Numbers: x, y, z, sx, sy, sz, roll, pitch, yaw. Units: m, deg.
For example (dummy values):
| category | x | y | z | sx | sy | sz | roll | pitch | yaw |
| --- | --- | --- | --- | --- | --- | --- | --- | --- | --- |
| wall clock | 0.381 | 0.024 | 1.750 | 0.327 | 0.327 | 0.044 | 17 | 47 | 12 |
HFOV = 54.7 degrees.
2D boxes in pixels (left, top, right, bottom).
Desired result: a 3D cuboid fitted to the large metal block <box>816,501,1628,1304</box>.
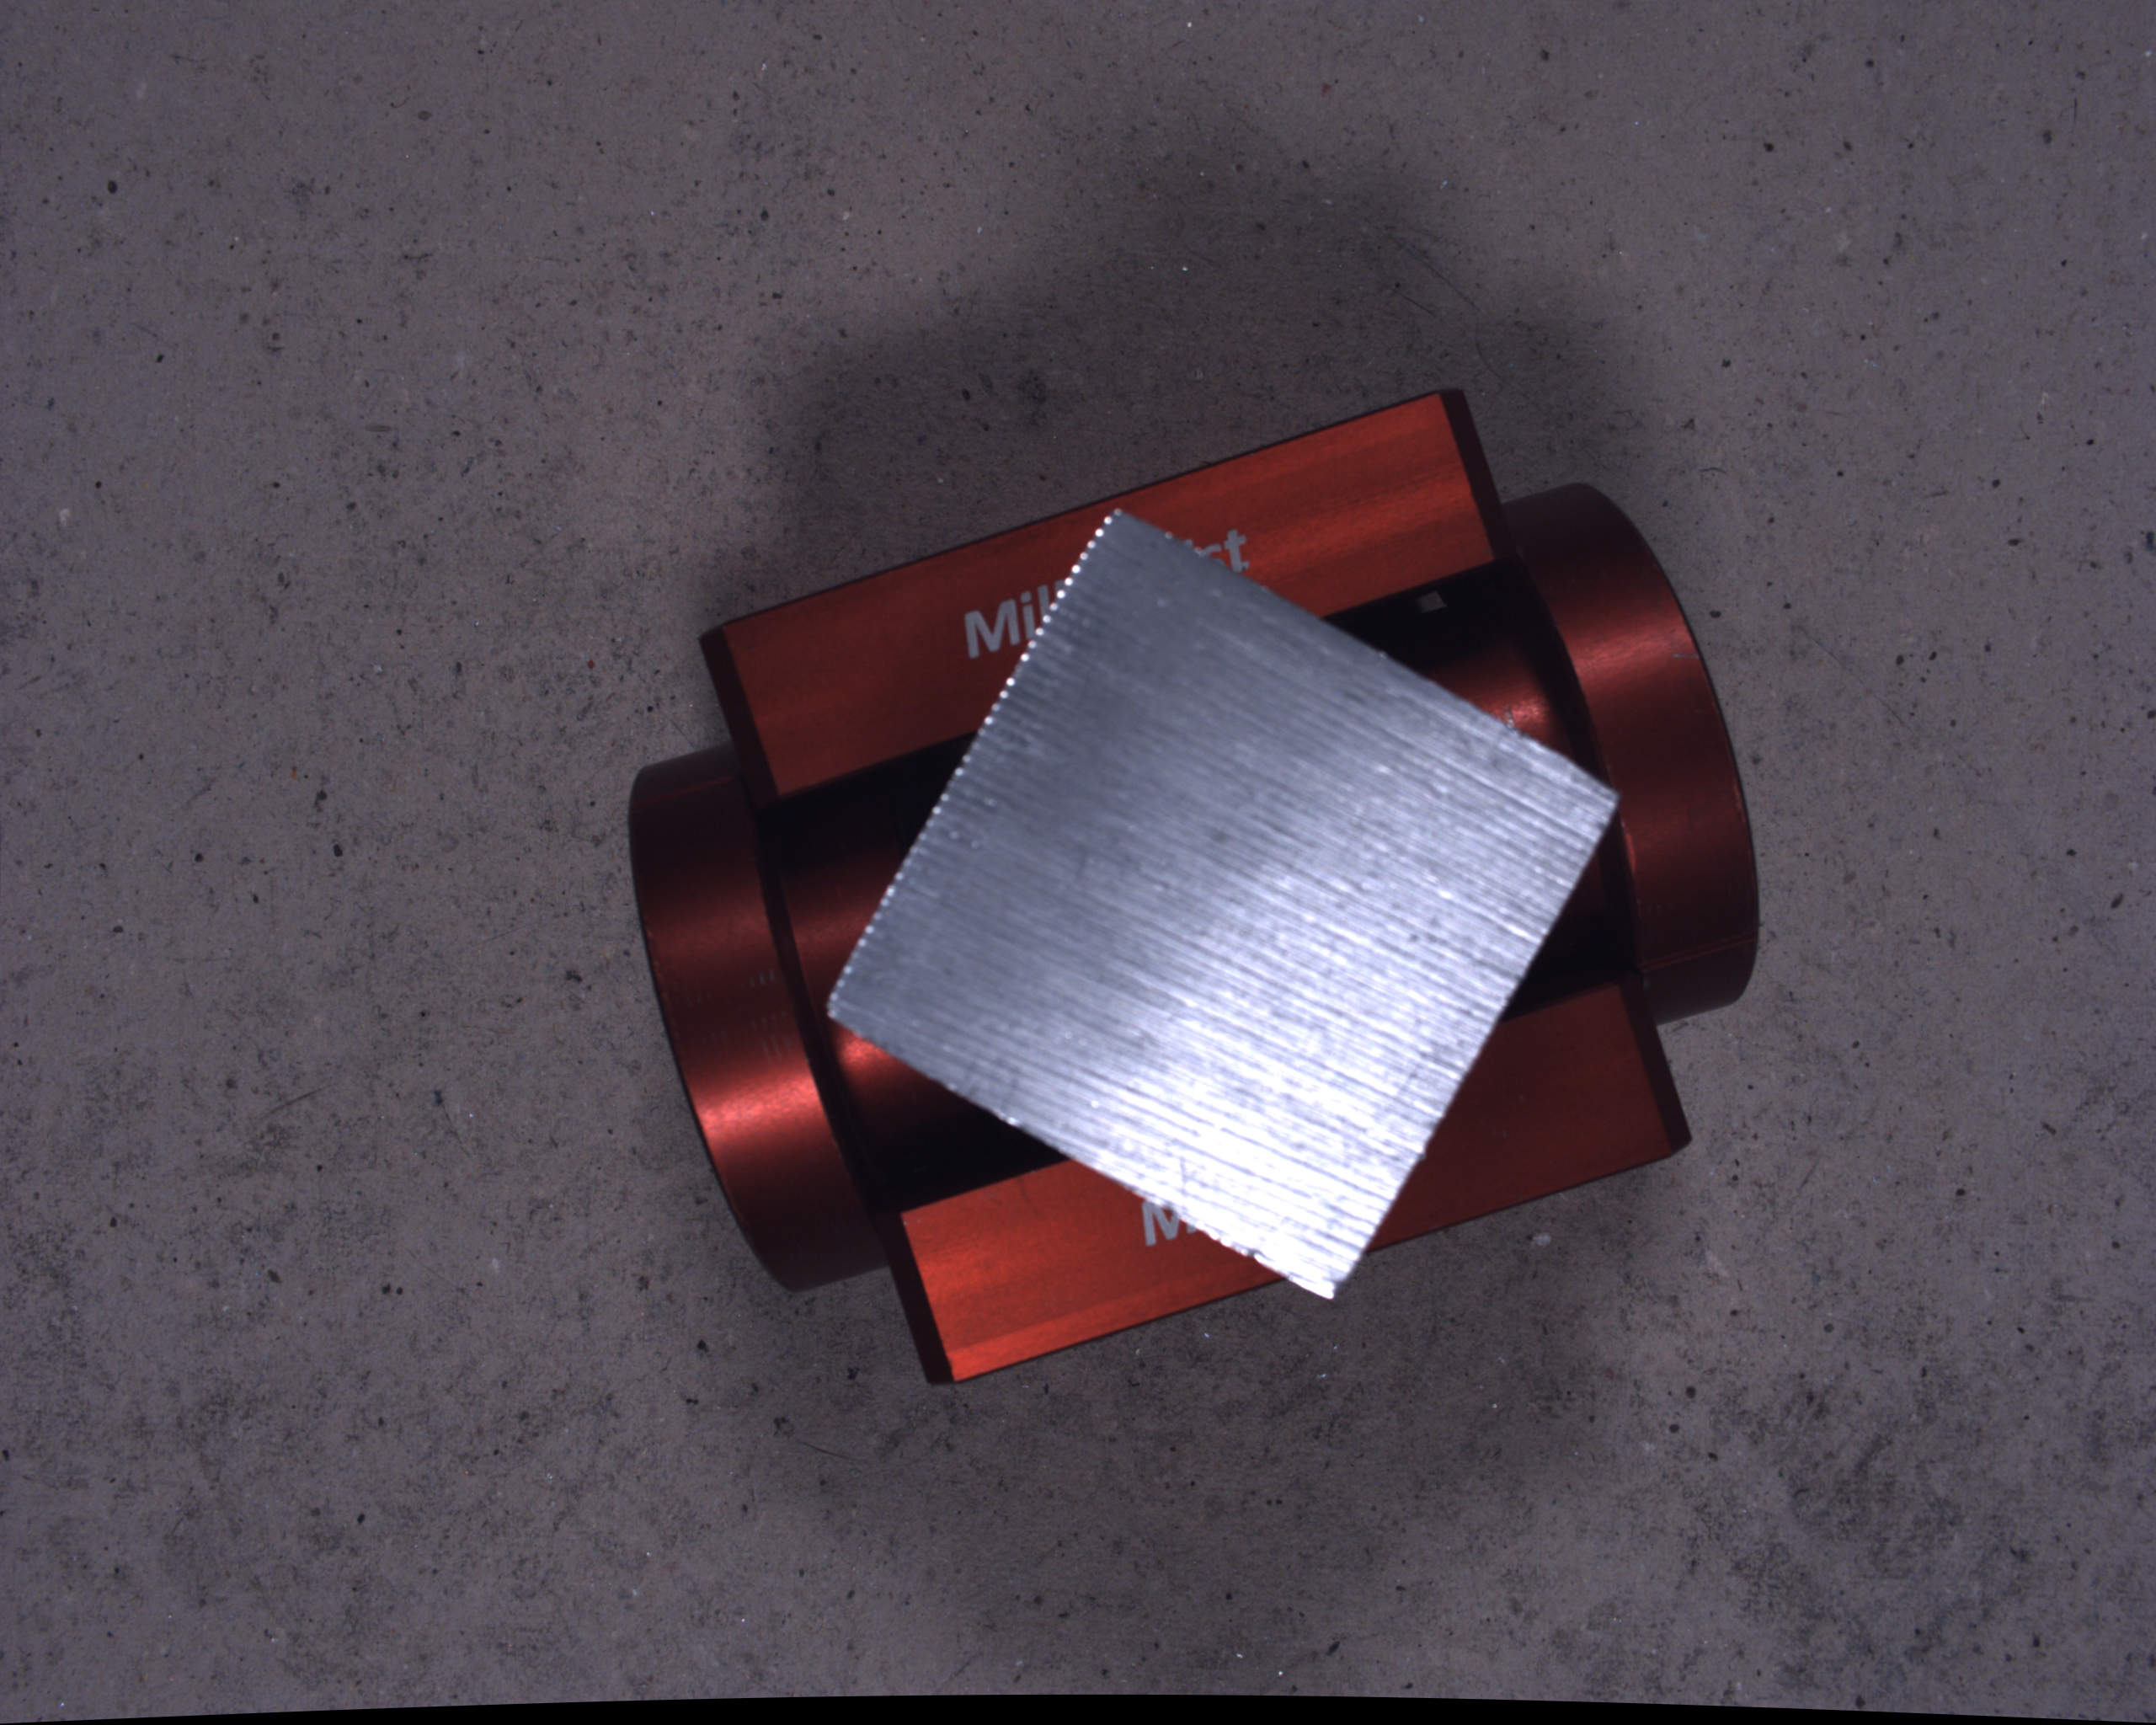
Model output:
| category | x | y | z | sx | sy | sz | roll | pitch | yaw |
| --- | --- | --- | --- | --- | --- | --- | --- | --- | --- |
| large metal block | 0.019 | 0.005 | 0.306 | 0.080 | 0.050 | 0.080 | 30 | 90 | -1 |

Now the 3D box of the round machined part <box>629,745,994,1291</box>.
| category | x | y | z | sx | sy | sz | roll | pitch | yaw |
| --- | --- | --- | --- | --- | --- | --- | --- | --- | --- |
| round machined part | -0.044 | 0.024 | 0.374 | 0.042 | 0.098 | 0.097 | -16 | 90 | 0 |

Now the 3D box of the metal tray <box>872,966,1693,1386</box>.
| category | x | y | z | sx | sy | sz | roll | pitch | yaw |
| --- | --- | --- | --- | --- | --- | --- | --- | --- | --- |
| metal tray | 0.033 | 0.051 | 0.378 | 0.131 | 0.090 | 0.030 | -17 | 90 | -1 |

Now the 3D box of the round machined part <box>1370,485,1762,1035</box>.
| category | x | y | z | sx | sy | sz | roll | pitch | yaw |
| --- | --- | --- | --- | --- | --- | --- | --- | --- | --- |
| round machined part | 0.082 | -0.015 | 0.375 | 0.042 | 0.098 | 0.097 | -16 | 90 | 0 |

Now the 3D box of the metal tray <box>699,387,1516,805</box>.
| category | x | y | z | sx | sy | sz | roll | pitch | yaw |
| --- | --- | --- | --- | --- | --- | --- | --- | --- | --- |
| metal tray | 0.005 | -0.044 | 0.380 | 0.131 | 0.090 | 0.030 | -18 | 90 | -1 |
